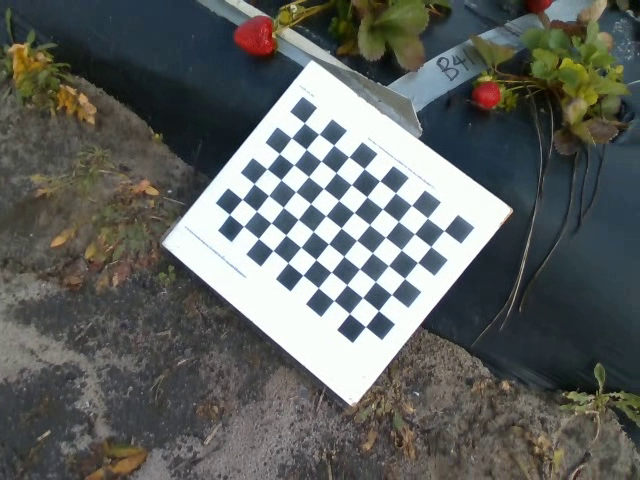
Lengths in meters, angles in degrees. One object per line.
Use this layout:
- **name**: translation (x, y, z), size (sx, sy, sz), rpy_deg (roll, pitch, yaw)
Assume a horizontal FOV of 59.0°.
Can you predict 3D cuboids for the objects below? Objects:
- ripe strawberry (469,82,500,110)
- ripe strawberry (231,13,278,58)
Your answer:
- **ripe strawberry**: translation (0.182, -0.155, 0.614), size (0.047, 0.038, 0.031), rpy_deg (-25, -16, -50)
- **ripe strawberry**: translation (-0.076, -0.221, 0.612), size (0.052, 0.048, 0.030), rpy_deg (-10, -7, -18)
